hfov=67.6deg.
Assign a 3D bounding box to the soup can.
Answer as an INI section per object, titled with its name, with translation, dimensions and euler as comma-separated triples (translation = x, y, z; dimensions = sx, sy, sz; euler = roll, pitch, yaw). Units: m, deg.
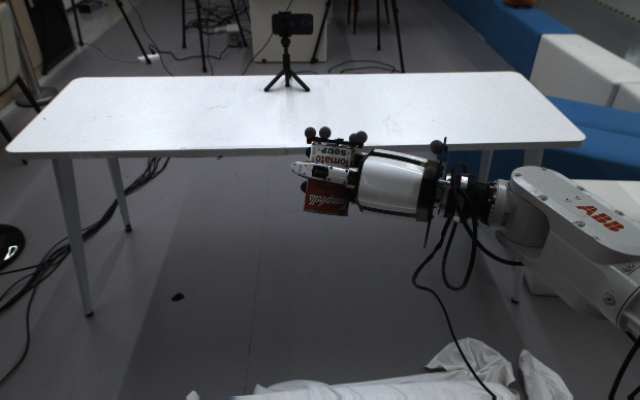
[soup can]
translation = 0.015, -0.031, 0.715
dimensions = 0.067, 0.101, 0.067
euler = 7, 3, 0
